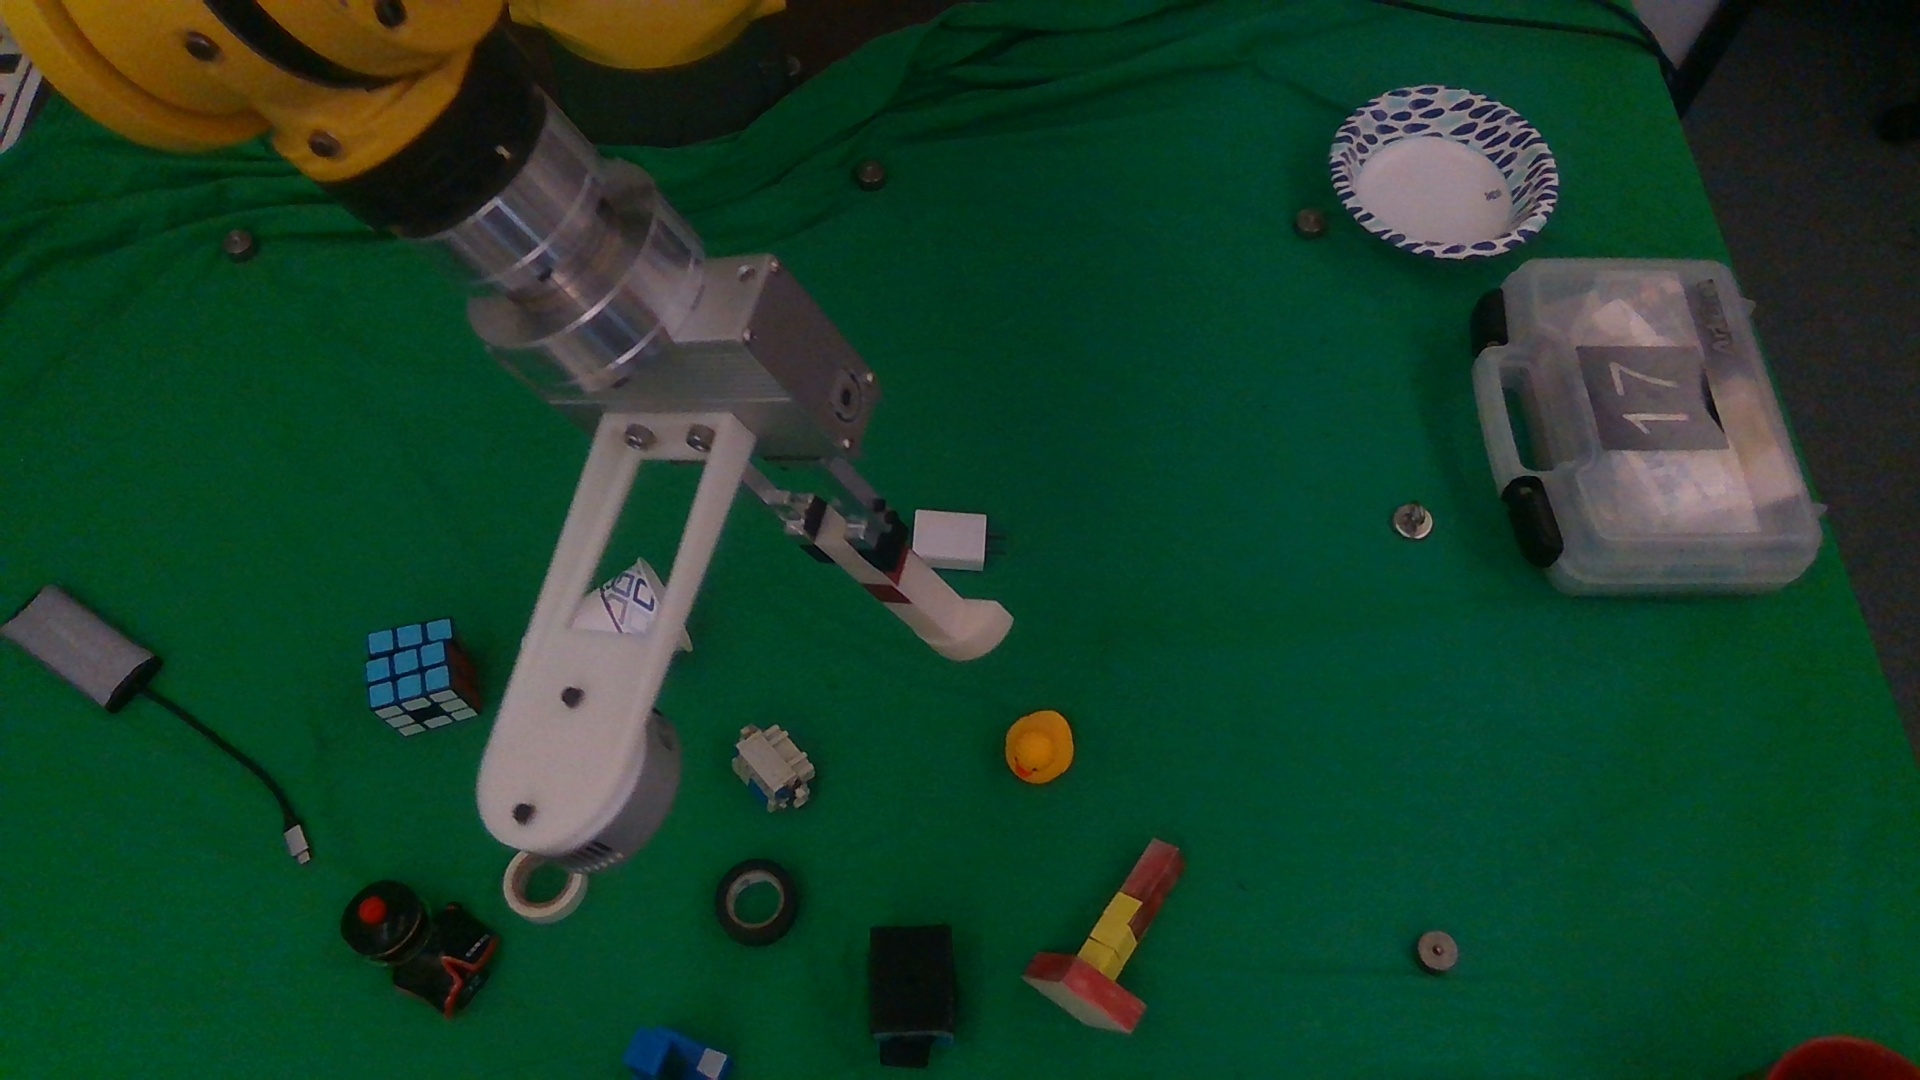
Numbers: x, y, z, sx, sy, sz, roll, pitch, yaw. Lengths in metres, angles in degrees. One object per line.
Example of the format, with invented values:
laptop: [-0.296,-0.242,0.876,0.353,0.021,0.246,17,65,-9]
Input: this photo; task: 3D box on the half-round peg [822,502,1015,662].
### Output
half-round peg: [-0.025,0.019,0.635,0.055,0.121,0.031,5,66,33]

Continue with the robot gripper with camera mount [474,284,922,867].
robot gripper with camera mount: [-0.095,0.035,0.513,0.119,0.158,0.193,2,60,34]
